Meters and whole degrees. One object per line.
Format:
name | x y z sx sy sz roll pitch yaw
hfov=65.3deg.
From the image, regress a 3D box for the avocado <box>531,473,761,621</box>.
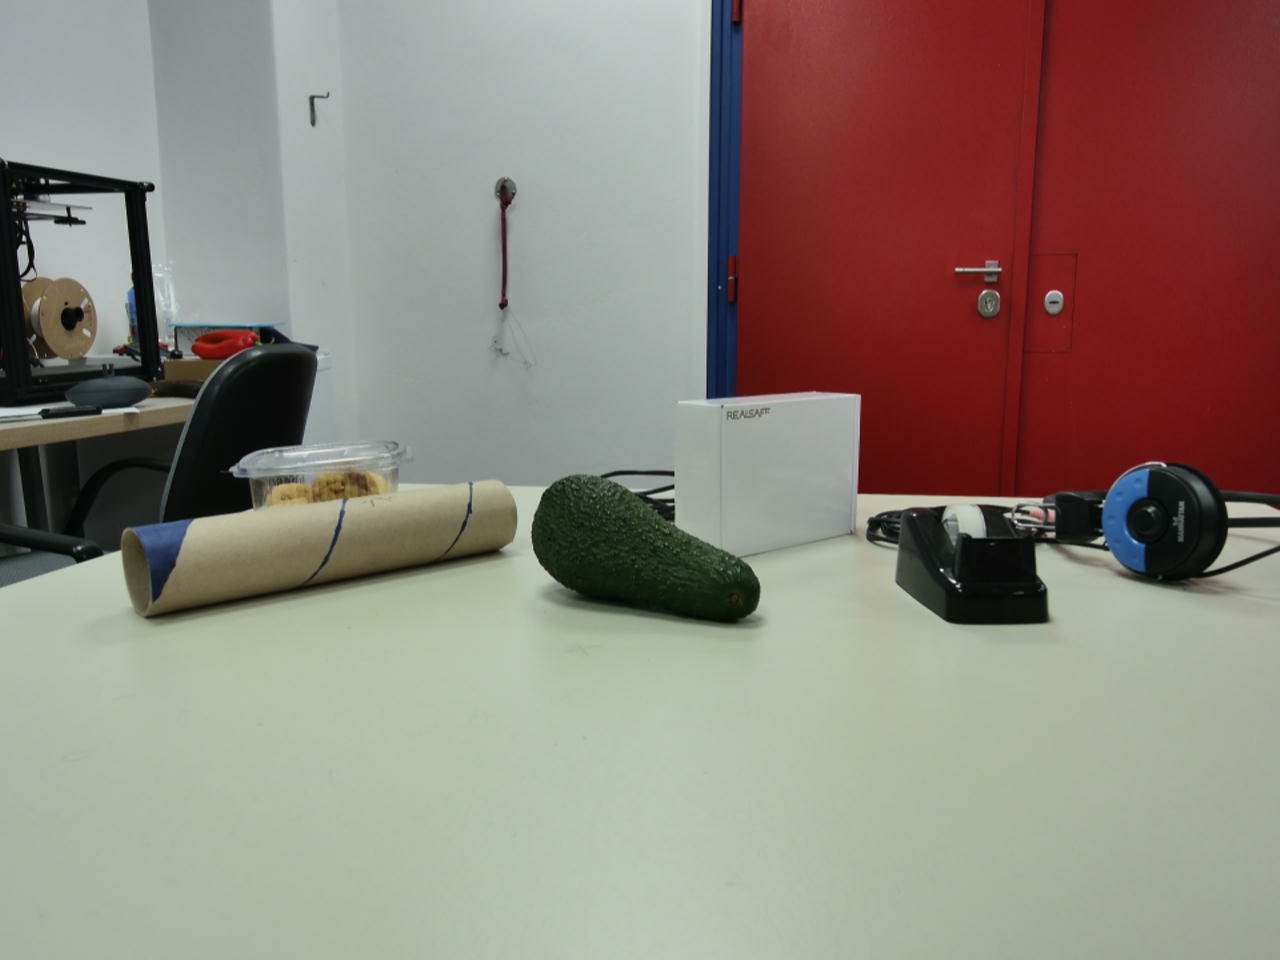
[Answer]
avocado | 0.003 0.032 0.525 0.141 0.067 0.063 3 7 27
